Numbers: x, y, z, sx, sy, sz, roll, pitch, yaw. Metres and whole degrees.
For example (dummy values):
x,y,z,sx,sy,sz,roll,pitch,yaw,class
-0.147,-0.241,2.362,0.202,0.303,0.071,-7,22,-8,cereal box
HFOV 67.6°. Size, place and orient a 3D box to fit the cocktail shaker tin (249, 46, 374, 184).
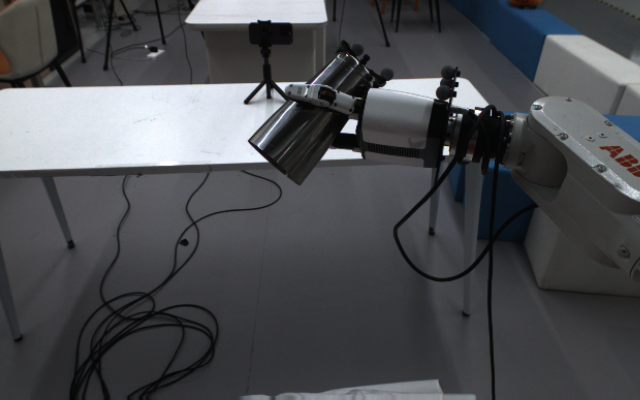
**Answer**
x,y,z,sx,sy,sz,roll,pitch,yaw,class
-0.006,-0.117,0.652,0.170,0.093,0.093,-48,49,-4,cocktail shaker tin
